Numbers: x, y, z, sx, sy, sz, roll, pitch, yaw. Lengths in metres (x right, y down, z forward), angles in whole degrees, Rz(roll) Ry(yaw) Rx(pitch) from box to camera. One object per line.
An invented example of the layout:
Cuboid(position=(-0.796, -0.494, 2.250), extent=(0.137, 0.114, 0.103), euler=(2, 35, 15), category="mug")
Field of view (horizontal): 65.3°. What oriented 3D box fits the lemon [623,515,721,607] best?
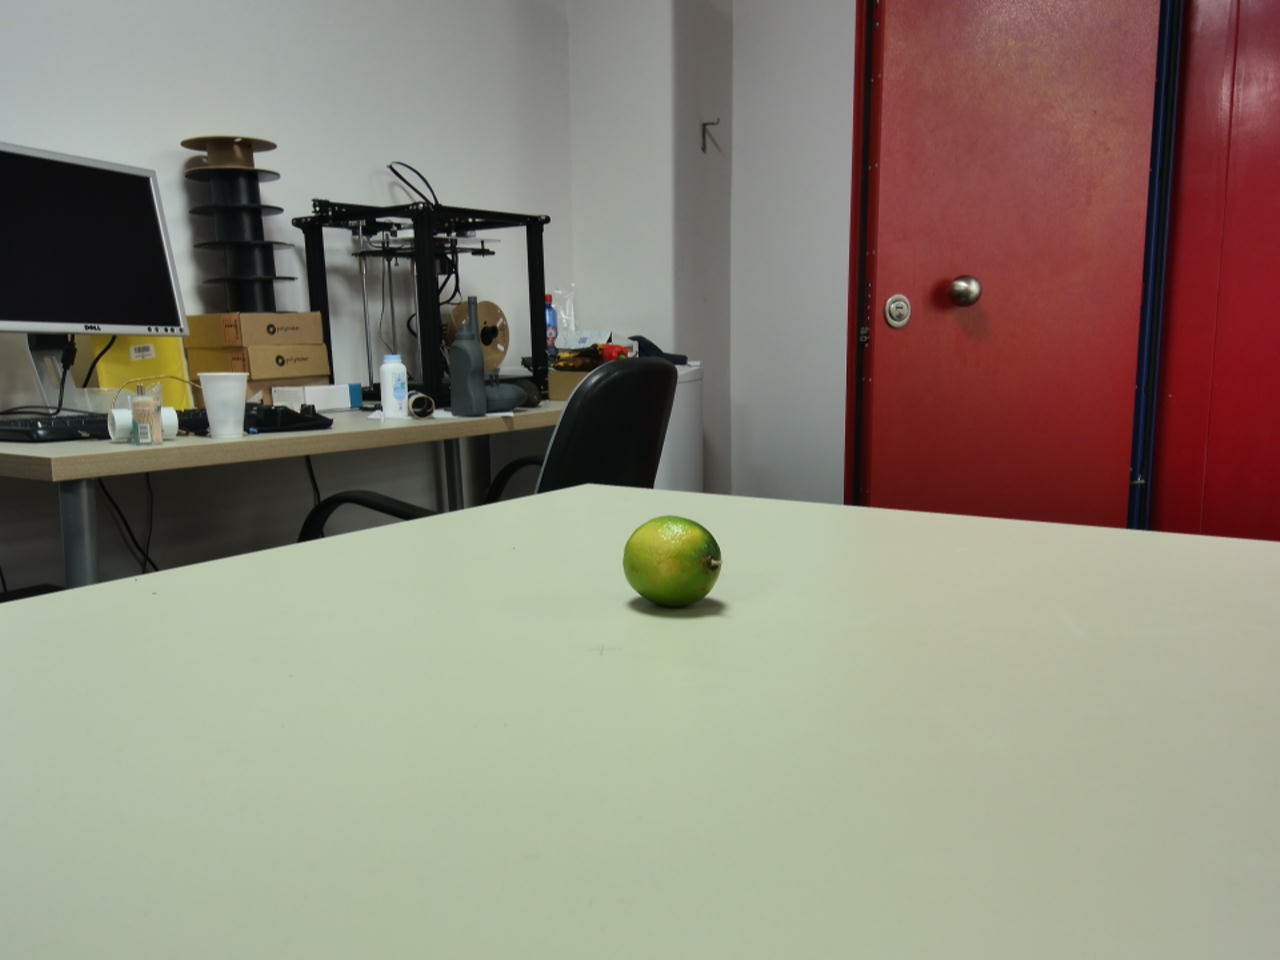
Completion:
Cuboid(position=(0.018, 0.045, 0.567), extent=(0.054, 0.050, 0.055), euler=(-1, 6, -4), category="lemon")
